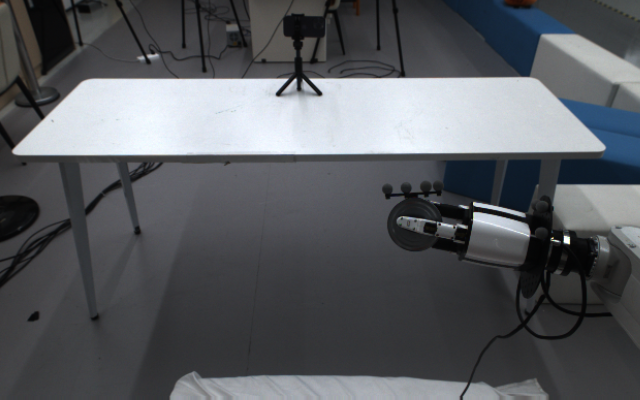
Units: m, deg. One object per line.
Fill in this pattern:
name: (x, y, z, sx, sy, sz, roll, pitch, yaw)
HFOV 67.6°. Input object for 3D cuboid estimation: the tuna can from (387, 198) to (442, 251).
tuna can: (0.152, 0.037, 0.771, 0.085, 0.085, 0.034, 11, 2, 12)
